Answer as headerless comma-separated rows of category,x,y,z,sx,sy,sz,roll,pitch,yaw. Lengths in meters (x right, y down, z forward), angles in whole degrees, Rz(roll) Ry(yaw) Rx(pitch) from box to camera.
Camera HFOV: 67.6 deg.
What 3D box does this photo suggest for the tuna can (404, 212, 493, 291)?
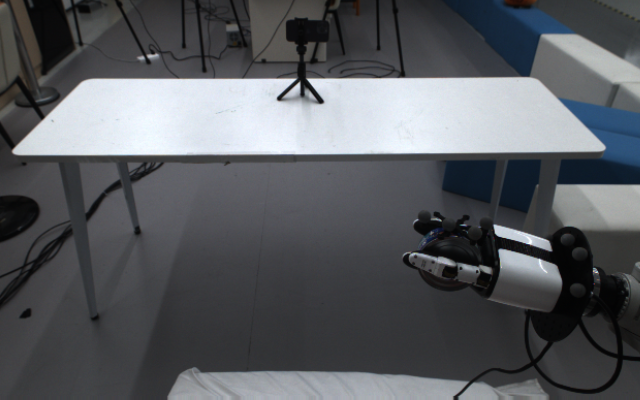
tuna can,0.177,0.079,0.659,0.085,0.085,0.034,7,21,7
